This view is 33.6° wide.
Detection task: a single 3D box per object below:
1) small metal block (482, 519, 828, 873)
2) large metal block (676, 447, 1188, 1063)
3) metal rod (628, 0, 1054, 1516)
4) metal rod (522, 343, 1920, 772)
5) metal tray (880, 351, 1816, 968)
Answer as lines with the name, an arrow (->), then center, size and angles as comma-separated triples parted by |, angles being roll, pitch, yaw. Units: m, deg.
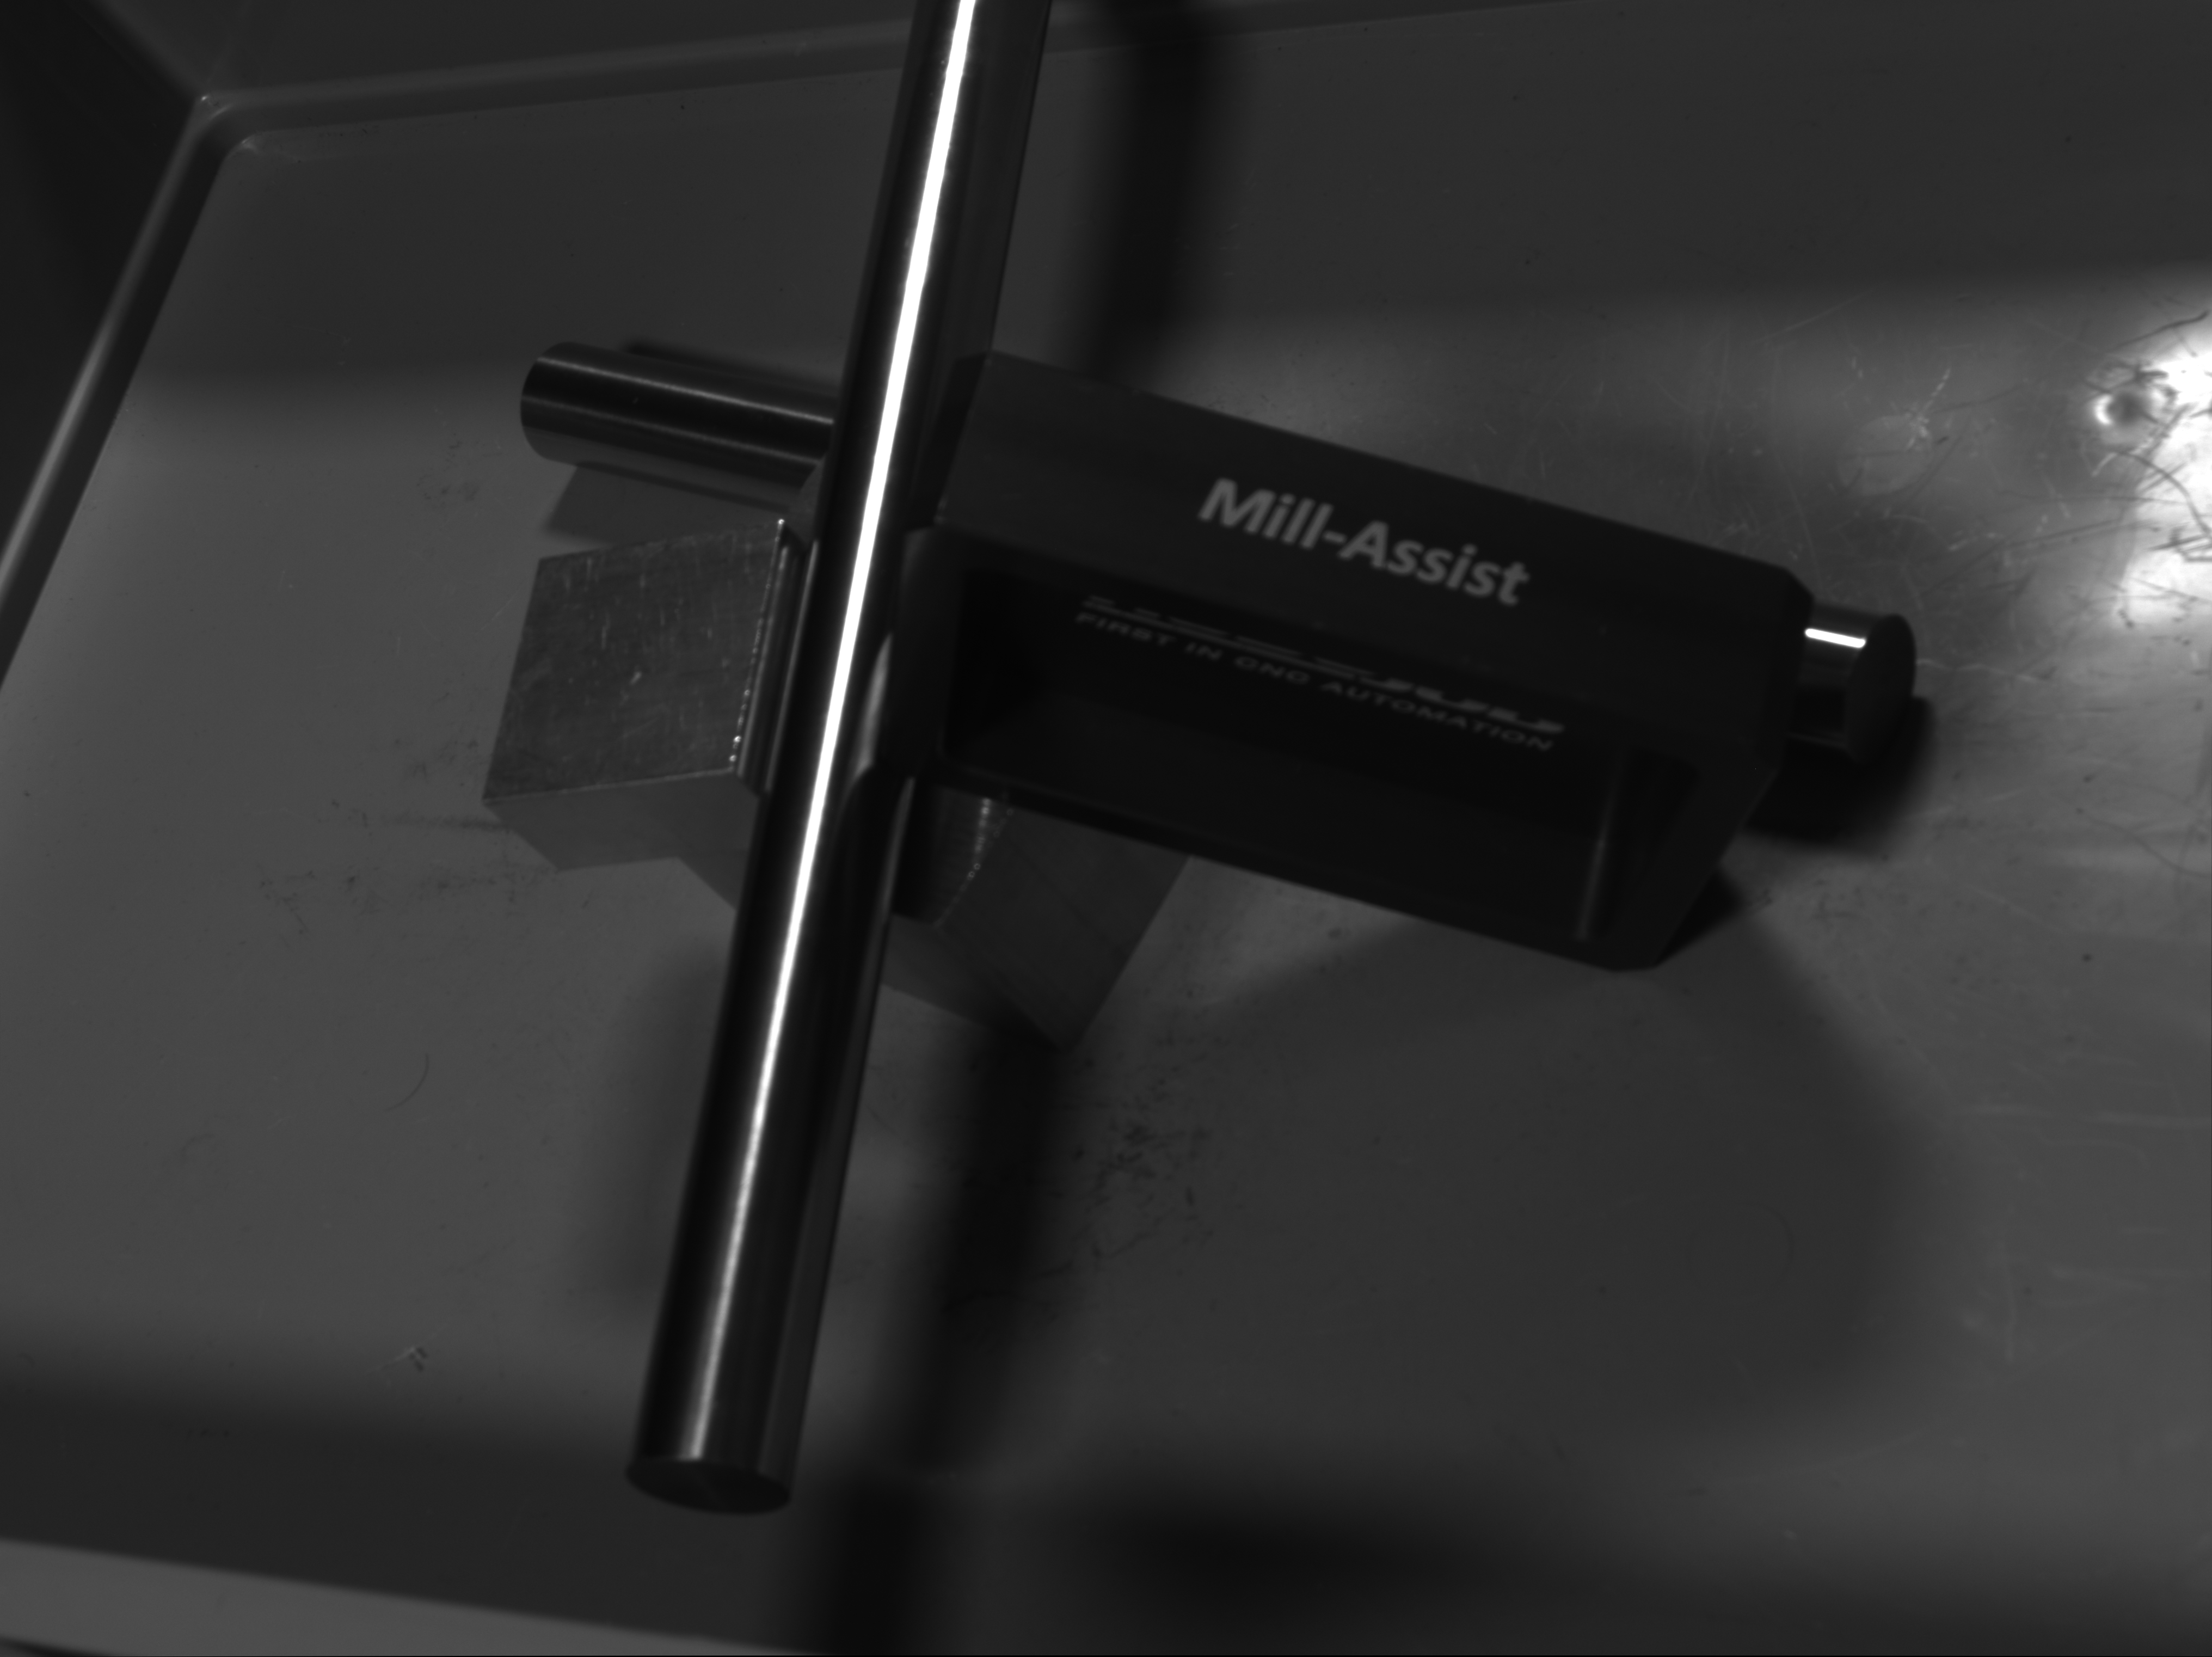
small metal block -> -0.075, -0.023, 0.633 | 0.050, 0.025, 0.050 | -6, 58, 25
large metal block -> -0.027, -0.015, 0.651 | 0.080, 0.050, 0.080 | 19, 72, 36
metal rod -> -0.040, -0.032, 0.620 | 0.025, 0.025, 0.300 | -6, 59, 25
metal rod -> 0.007, -0.055, 0.674 | 0.299, 0.025, 0.025 | 16, 70, 34
metal tray -> 0.033, -0.023, 0.563 | 0.130, 0.090, 0.030 | 15, 66, 0
